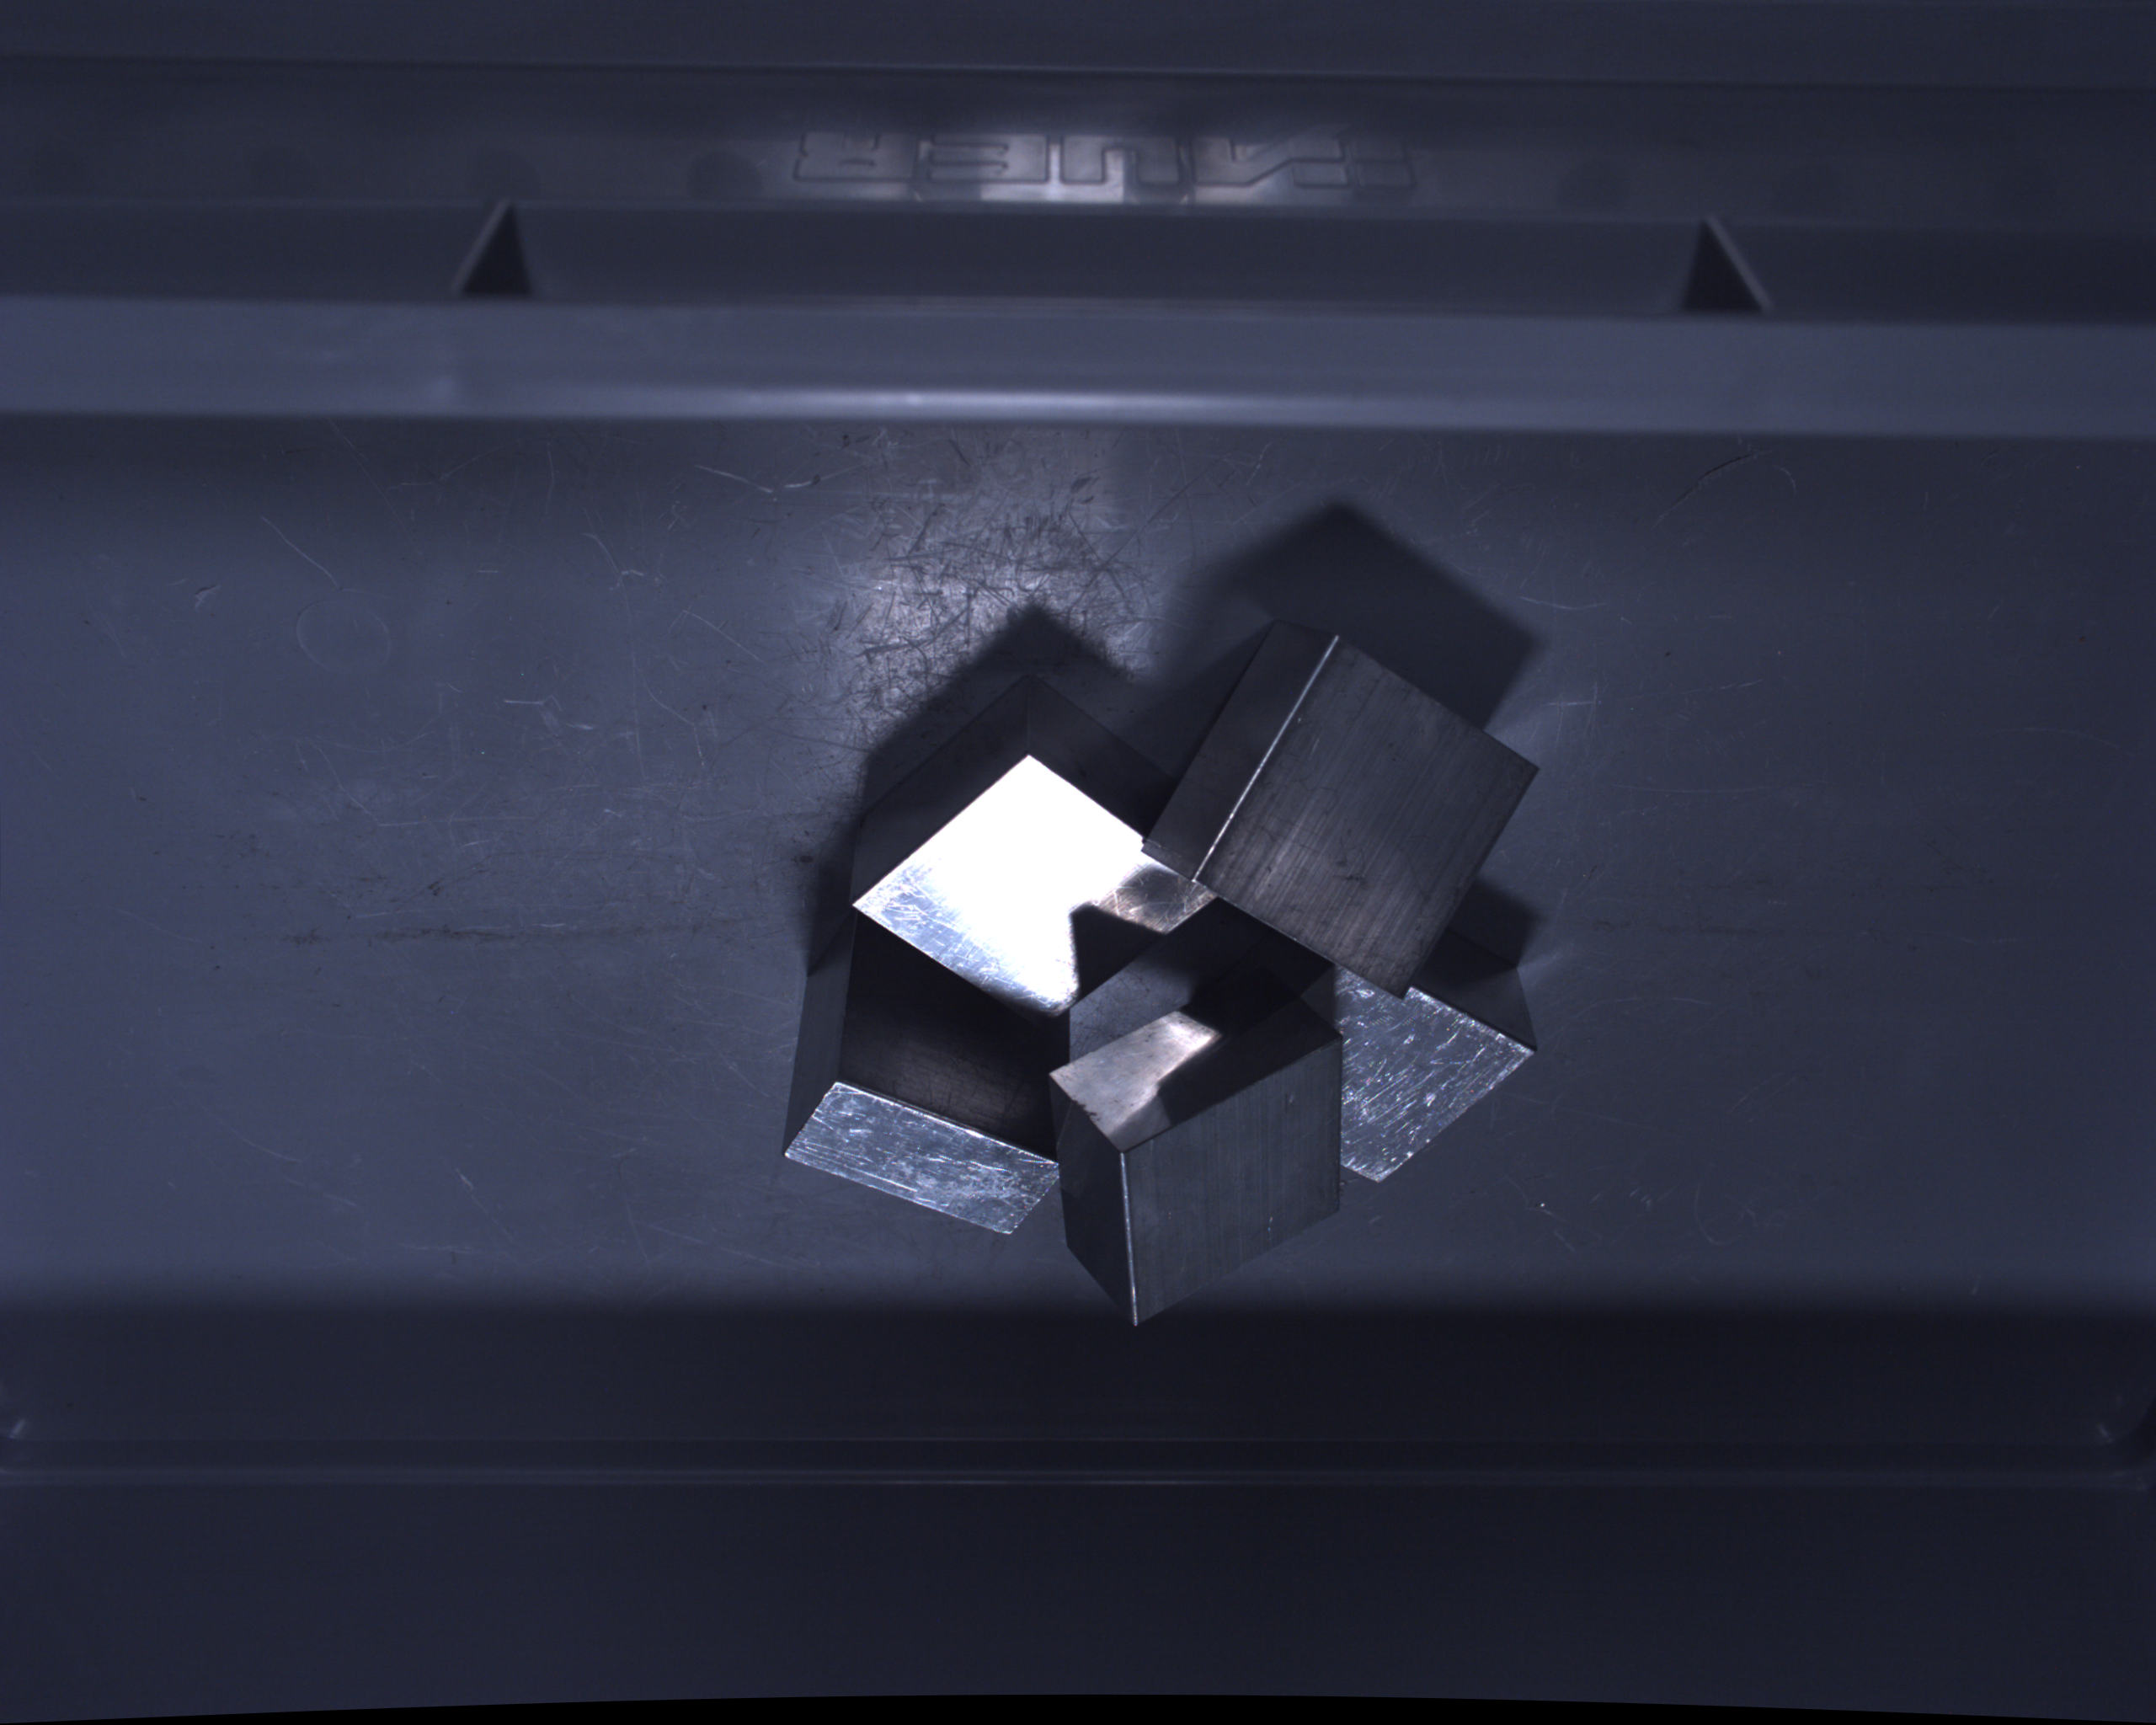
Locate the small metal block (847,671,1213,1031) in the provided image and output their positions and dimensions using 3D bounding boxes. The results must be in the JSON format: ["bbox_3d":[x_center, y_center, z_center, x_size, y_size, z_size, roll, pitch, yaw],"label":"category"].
[{"bbox_3d":[-0.008,-0.001,0.405,0.050,0.025,0.050,36,121,-27],"label":"small metal block"}]

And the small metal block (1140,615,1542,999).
[{"bbox_3d":[0.048,-0.010,0.384,0.050,0.025,0.050,30,91,-24],"label":"small metal block"}]

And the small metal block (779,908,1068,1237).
[{"bbox_3d":[-0.030,0.042,0.425,0.050,0.050,0.025,23,126,-19],"label":"small metal block"}]

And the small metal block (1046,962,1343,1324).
[{"bbox_3d":[0.024,0.055,0.406,0.050,0.025,0.050,-25,134,-22],"label":"small metal block"}]

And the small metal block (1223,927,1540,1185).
[{"bbox_3d":[0.059,0.035,0.437,0.050,0.025,0.050,28,124,-23],"label":"small metal block"}]
